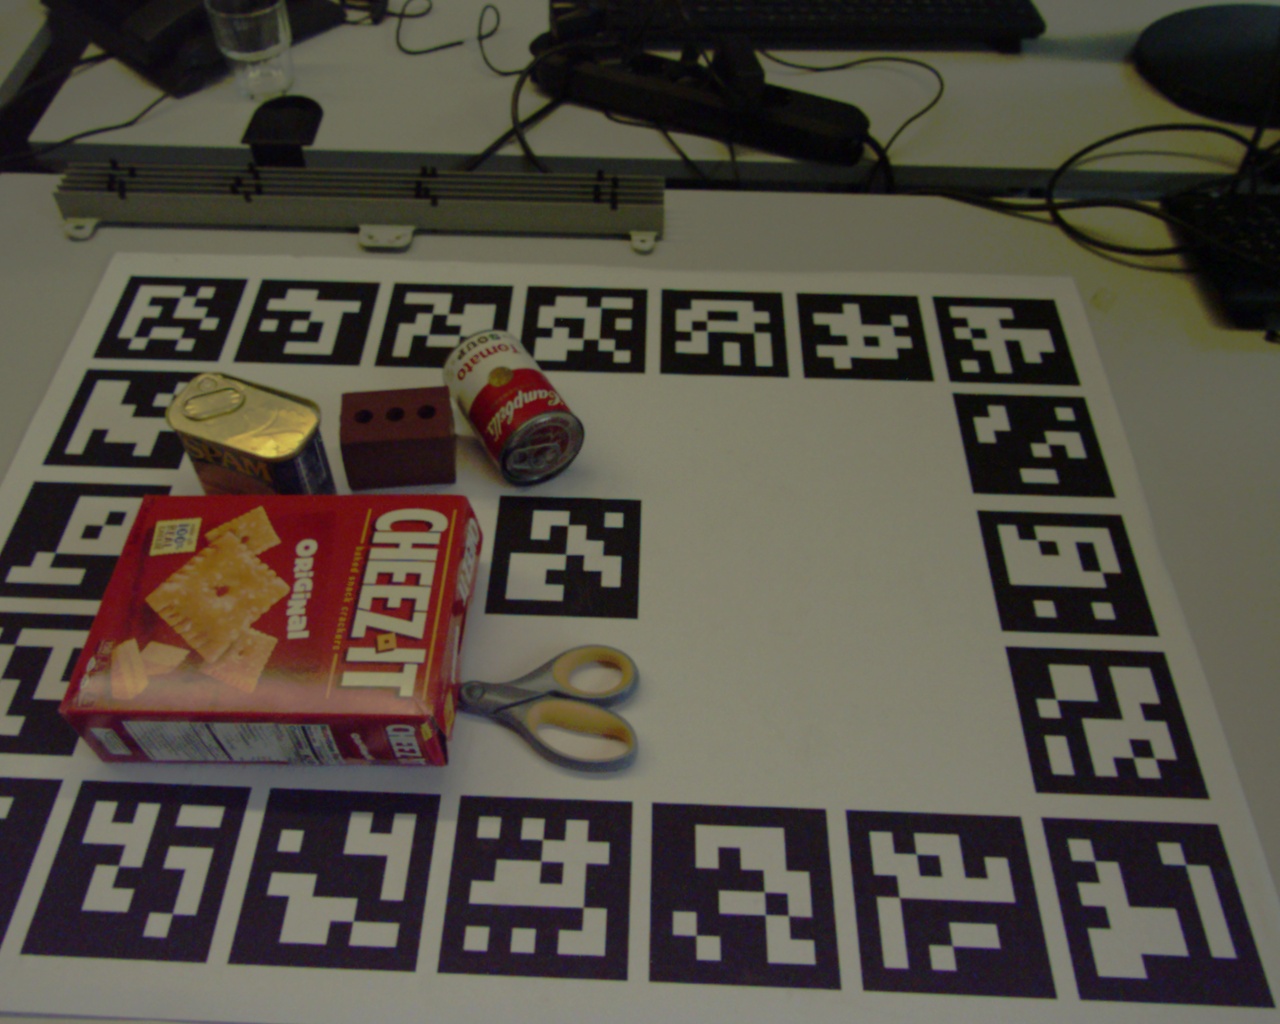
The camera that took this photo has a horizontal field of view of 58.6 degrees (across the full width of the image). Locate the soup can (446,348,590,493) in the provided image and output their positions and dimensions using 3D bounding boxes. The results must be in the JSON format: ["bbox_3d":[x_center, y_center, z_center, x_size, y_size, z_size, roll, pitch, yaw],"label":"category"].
[{"bbox_3d":[-0.094,-0.071,0.867,0.067,0.067,0.103,-30,54,-21],"label":"soup can"}]

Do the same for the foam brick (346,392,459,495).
[{"bbox_3d":[-0.177,-0.050,0.853,0.078,0.051,0.053,-7,54,-6],"label":"foam brick"}]

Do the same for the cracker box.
[{"bbox_3d":[-0.222,0.072,0.730,0.214,0.071,0.165,-5,53,1],"label":"cracker box"}]

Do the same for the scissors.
[{"bbox_3d":[-0.108,0.122,0.731,0.202,0.016,0.088,-3,54,-2],"label":"scissors"}]

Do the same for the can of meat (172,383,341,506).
[{"bbox_3d":[-0.272,-0.038,0.821,0.102,0.083,0.058,13,55,9],"label":"can of meat"}]
